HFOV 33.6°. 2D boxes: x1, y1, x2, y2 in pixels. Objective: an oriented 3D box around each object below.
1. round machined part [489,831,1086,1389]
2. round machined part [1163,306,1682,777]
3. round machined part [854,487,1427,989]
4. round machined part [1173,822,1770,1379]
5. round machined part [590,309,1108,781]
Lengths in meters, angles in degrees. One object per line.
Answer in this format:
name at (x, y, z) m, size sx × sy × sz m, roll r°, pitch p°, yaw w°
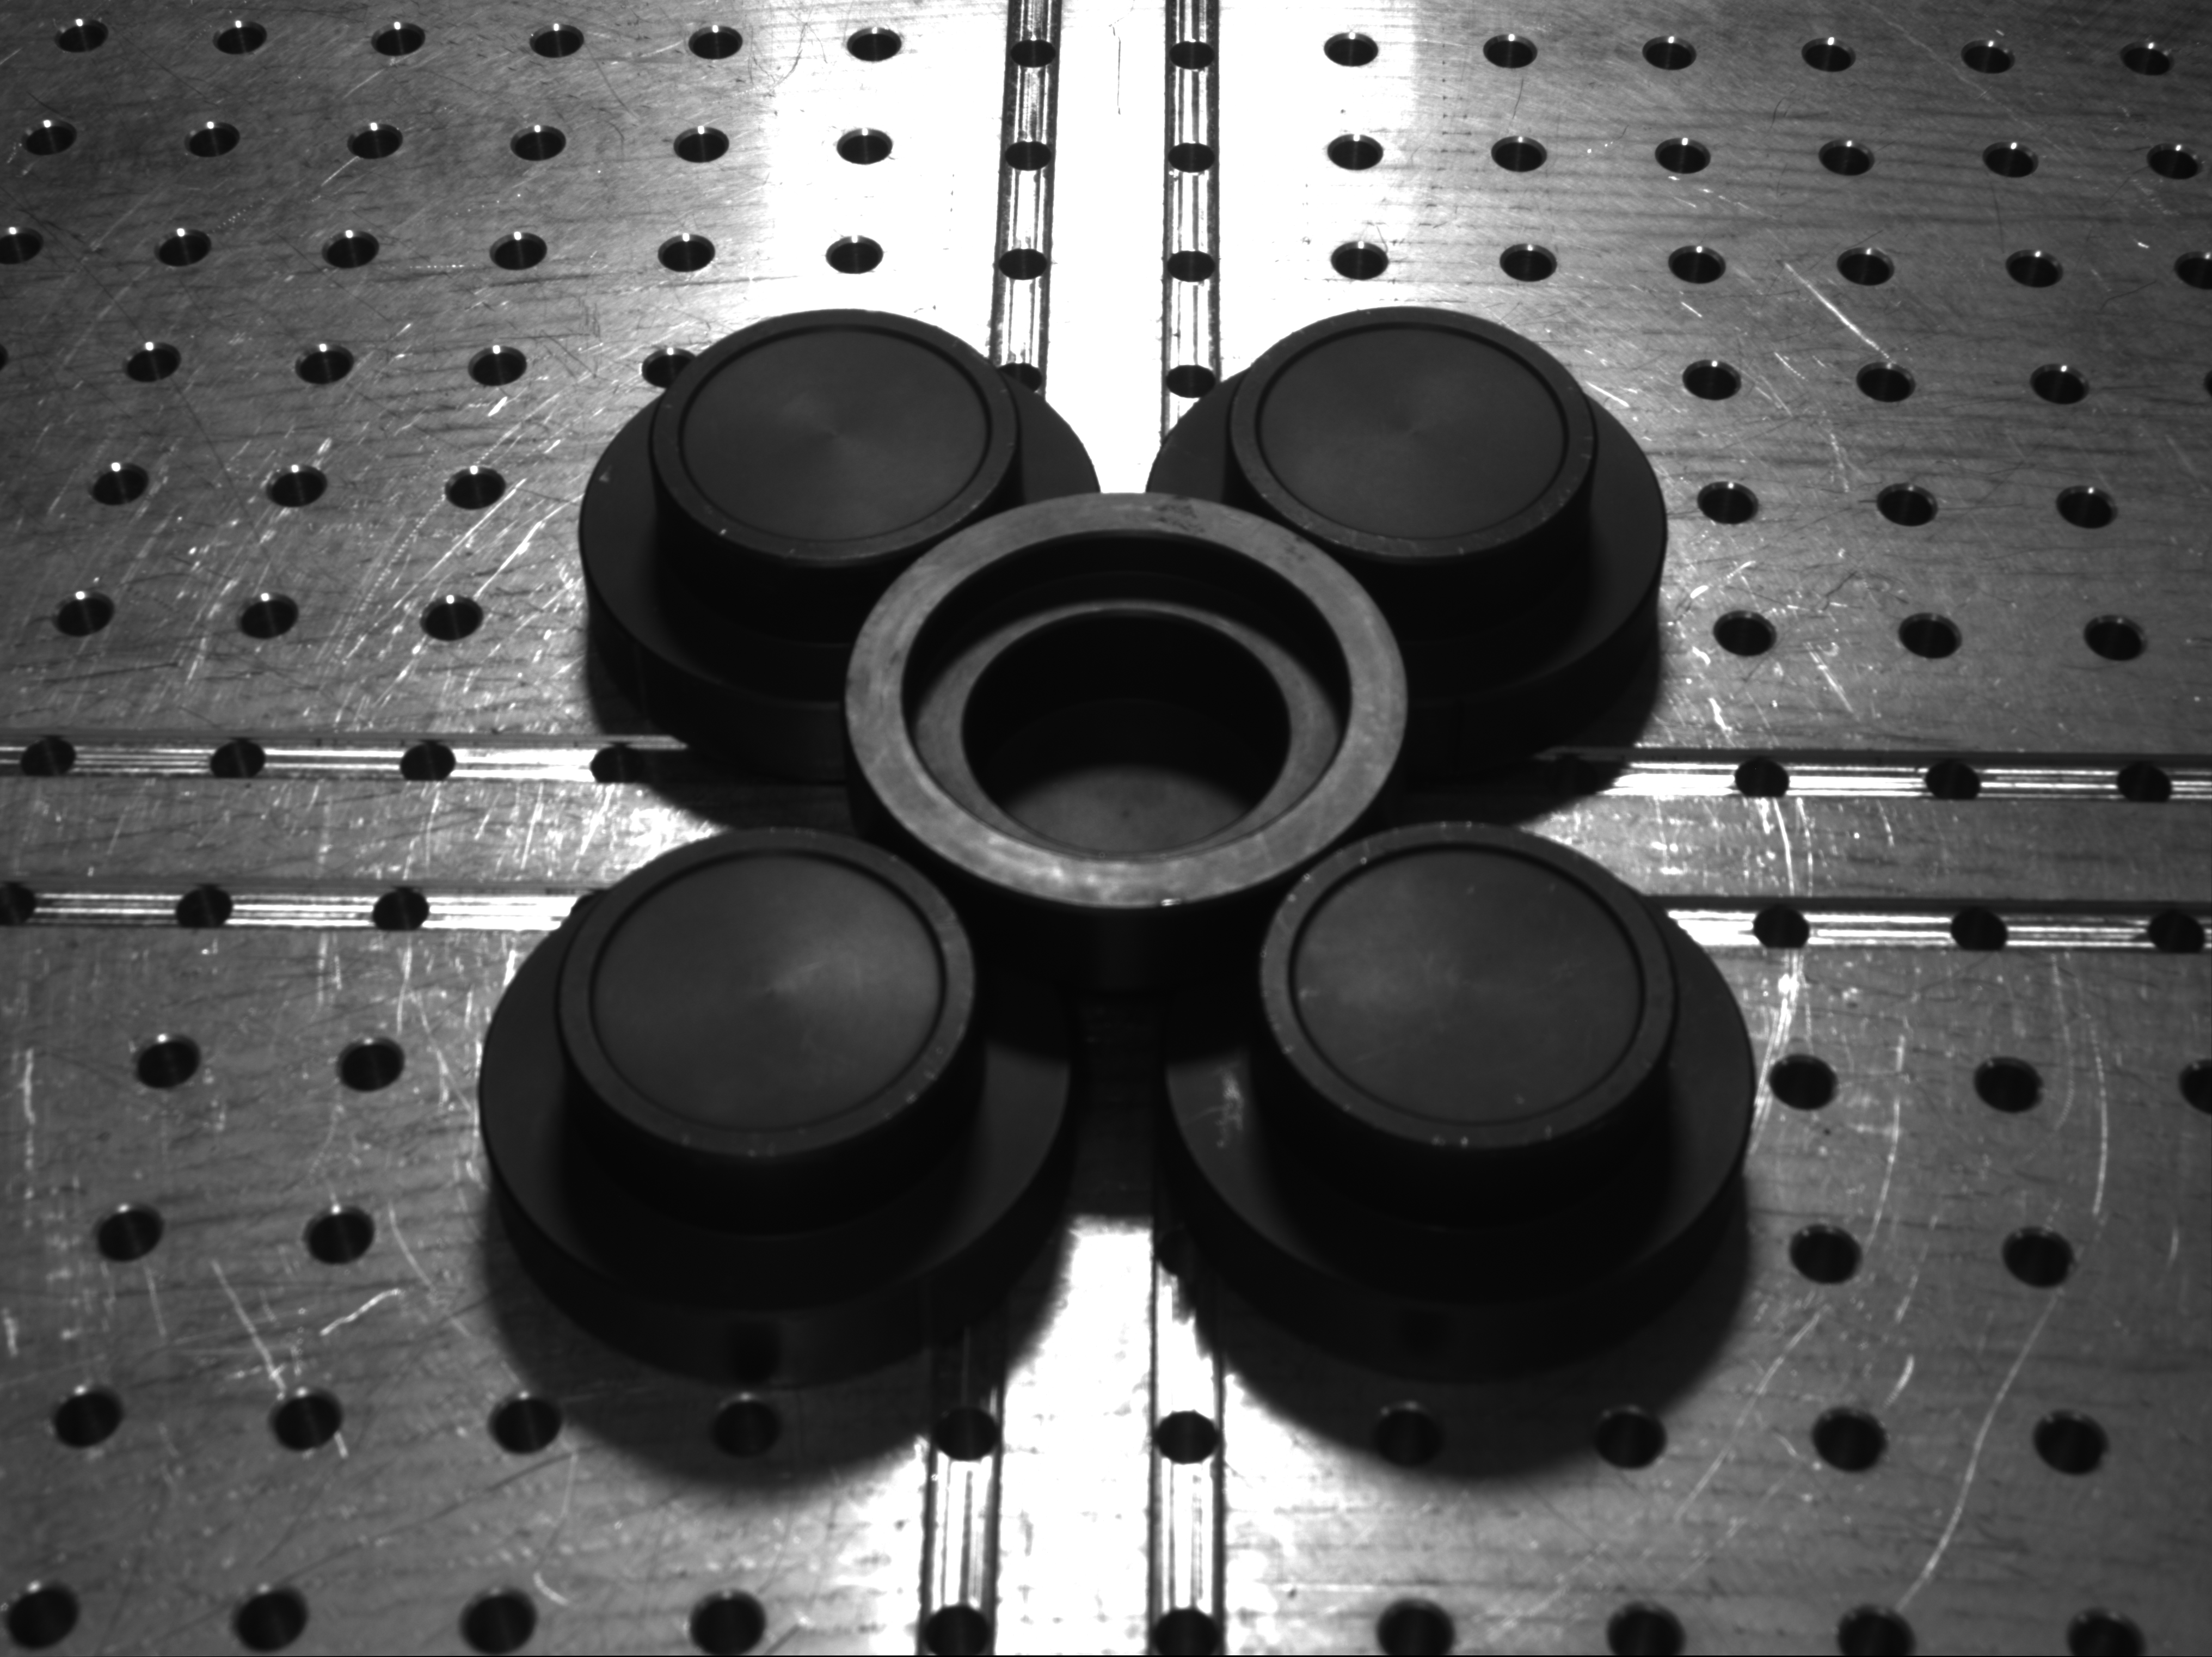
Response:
round machined part at (-0.052, 0.039, 0.601) m, size 0.098 × 0.042 × 0.098 m, roll 0°, pitch 50°, yaw 0°
round machined part at (0.058, -0.060, 0.684) m, size 0.098 × 0.042 × 0.098 m, roll 0°, pitch 50°, yaw 0°
round machined part at (0.006, -0.011, 0.641) m, size 0.098 × 0.042 × 0.098 m, roll 0°, pitch 50°, yaw 0°
round machined part at (0.060, 0.038, 0.601) m, size 0.098 × 0.042 × 0.098 m, roll 0°, pitch 50°, yaw 0°
round machined part at (-0.047, -0.059, 0.683) m, size 0.098 × 0.042 × 0.098 m, roll 0°, pitch 50°, yaw 0°
